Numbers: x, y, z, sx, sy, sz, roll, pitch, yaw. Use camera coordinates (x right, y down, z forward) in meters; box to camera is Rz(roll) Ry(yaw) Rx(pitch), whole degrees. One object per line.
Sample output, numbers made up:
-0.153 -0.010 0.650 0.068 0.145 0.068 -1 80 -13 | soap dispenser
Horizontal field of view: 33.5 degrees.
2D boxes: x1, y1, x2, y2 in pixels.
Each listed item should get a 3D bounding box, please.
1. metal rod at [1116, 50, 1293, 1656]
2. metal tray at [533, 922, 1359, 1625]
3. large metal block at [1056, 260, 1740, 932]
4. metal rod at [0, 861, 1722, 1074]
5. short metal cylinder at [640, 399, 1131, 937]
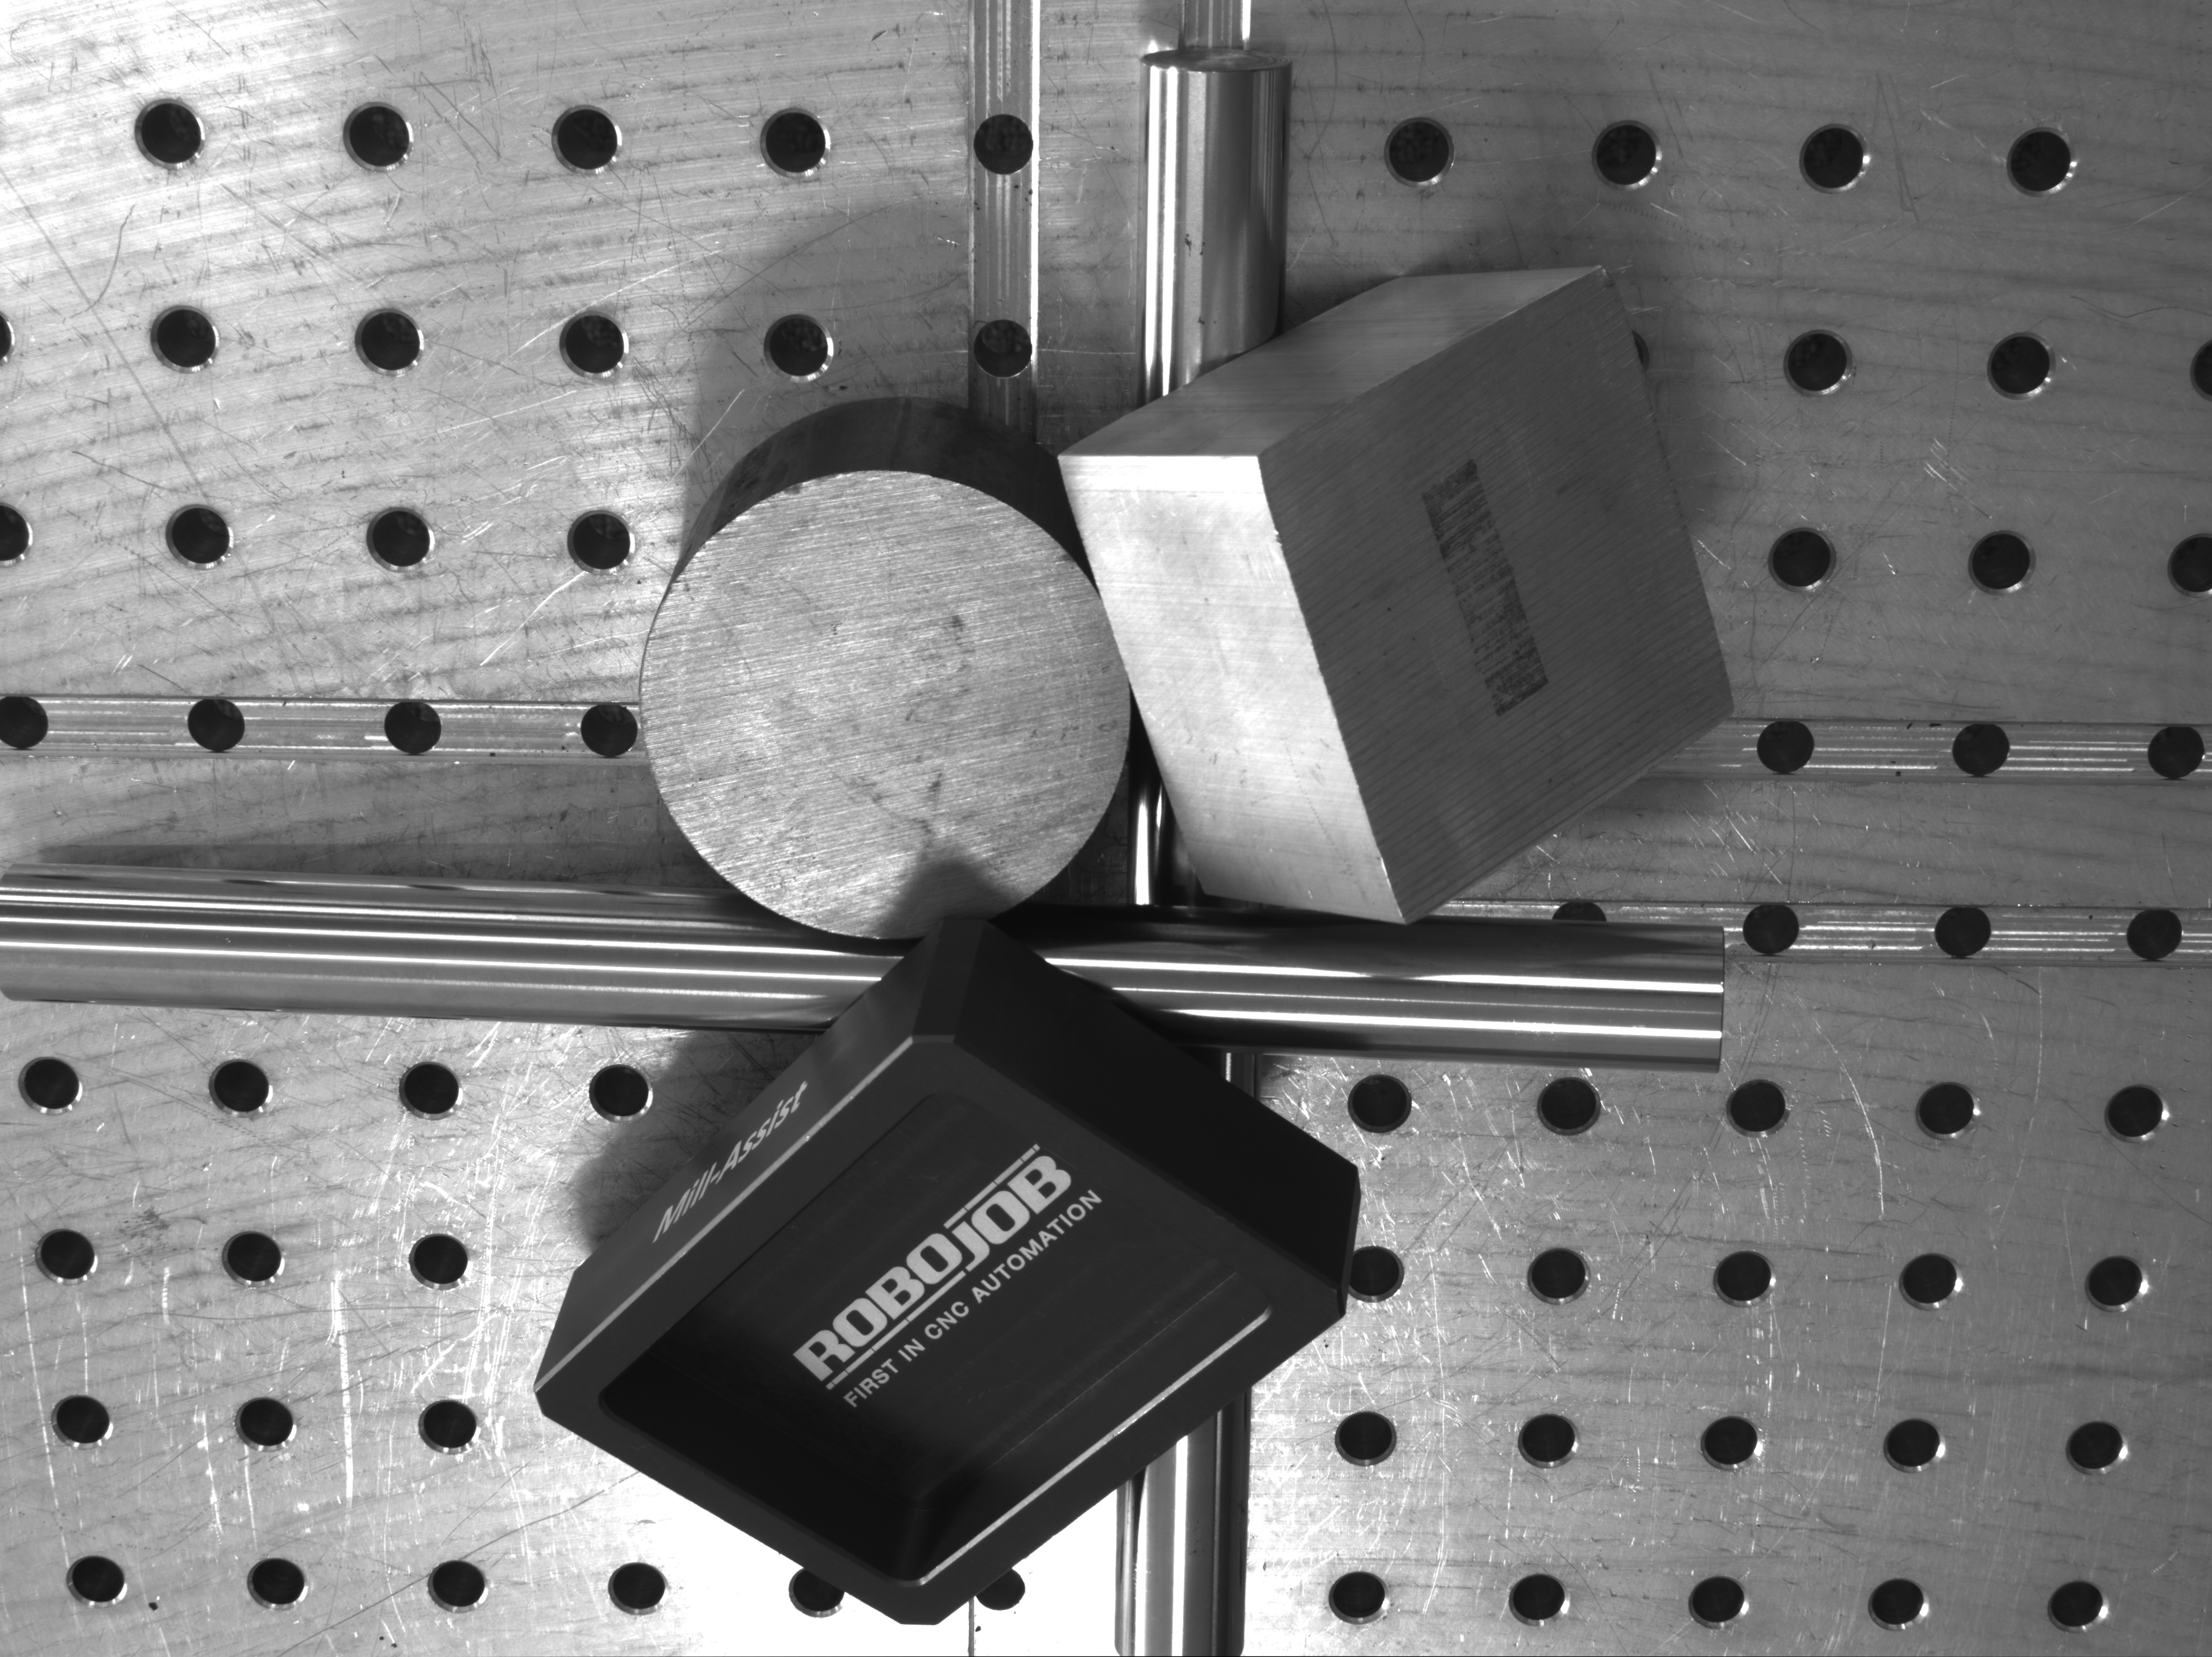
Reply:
0.016 0.015 0.652 0.025 0.025 0.300 1 110 0 | metal rod
-0.029 0.082 0.646 0.090 0.030 0.130 34 127 -18 | metal tray
0.049 -0.039 0.598 0.080 0.050 0.080 -31 112 -31 | large metal block
-0.045 0.024 0.638 0.300 0.025 0.025 2 110 7 | metal rod
-0.036 -0.028 0.623 0.080 0.050 0.080 0 110 0 | short metal cylinder
